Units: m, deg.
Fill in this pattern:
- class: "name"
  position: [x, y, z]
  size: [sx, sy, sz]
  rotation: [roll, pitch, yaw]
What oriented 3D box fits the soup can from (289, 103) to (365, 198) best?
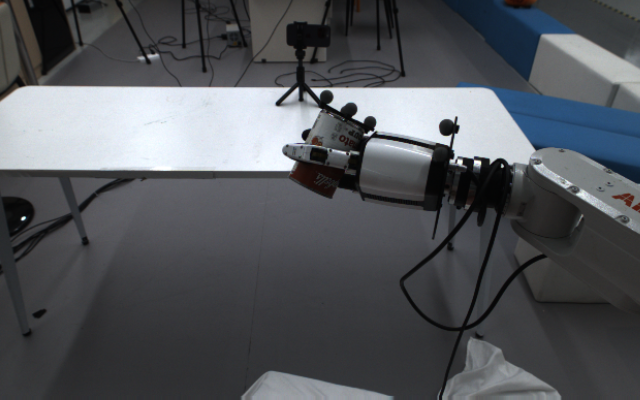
- class: "soup can"
  position: [0.009, -0.062, 0.650]
  size: [0.067, 0.101, 0.067]
  rotation: [26, 6, -3]
